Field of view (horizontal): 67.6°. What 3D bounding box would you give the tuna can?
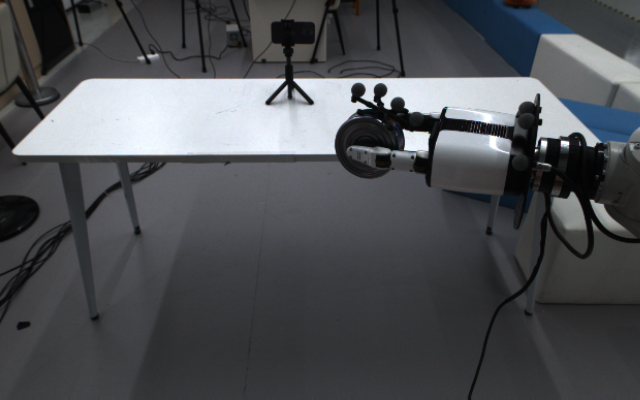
[{"bbox_3d":[0.067,-0.066,0.620,0.085,0.085,0.034,15,31,18],"label":"tuna can"}]
